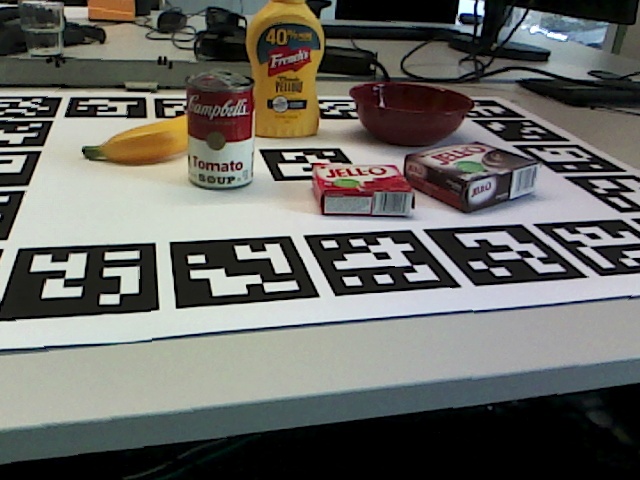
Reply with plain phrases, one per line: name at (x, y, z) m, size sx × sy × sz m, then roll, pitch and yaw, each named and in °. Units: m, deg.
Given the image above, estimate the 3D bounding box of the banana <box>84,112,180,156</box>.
banana at (-0.178, -0.132, 0.728) m, size 0.075 × 0.039 × 0.196 m, roll 9°, pitch 26°, yaw 28°

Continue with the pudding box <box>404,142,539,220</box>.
pudding box at (0.161, -0.065, 0.662) m, size 0.113 × 0.038 × 0.090 m, roll -16°, pitch 40°, yaw -35°

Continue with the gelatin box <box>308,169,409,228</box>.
gelatin box at (0.035, -0.043, 0.607) m, size 0.089 × 0.030 × 0.073 m, roll 1°, pitch 32°, yaw -8°

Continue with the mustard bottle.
mustard bottle at (-0.039, -0.234, 0.758) m, size 0.096 × 0.191 × 0.059 m, roll -2°, pitch 26°, yaw -14°

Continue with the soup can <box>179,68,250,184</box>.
soup can at (-0.108, -0.115, 0.624) m, size 0.068 × 0.102 × 0.068 m, roll 6°, pitch 26°, yaw -3°

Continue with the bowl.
bowl at (0.123, -0.160, 0.822) m, size 0.161 × 0.055 × 0.162 m, roll 3°, pitch 28°, yaw -2°
